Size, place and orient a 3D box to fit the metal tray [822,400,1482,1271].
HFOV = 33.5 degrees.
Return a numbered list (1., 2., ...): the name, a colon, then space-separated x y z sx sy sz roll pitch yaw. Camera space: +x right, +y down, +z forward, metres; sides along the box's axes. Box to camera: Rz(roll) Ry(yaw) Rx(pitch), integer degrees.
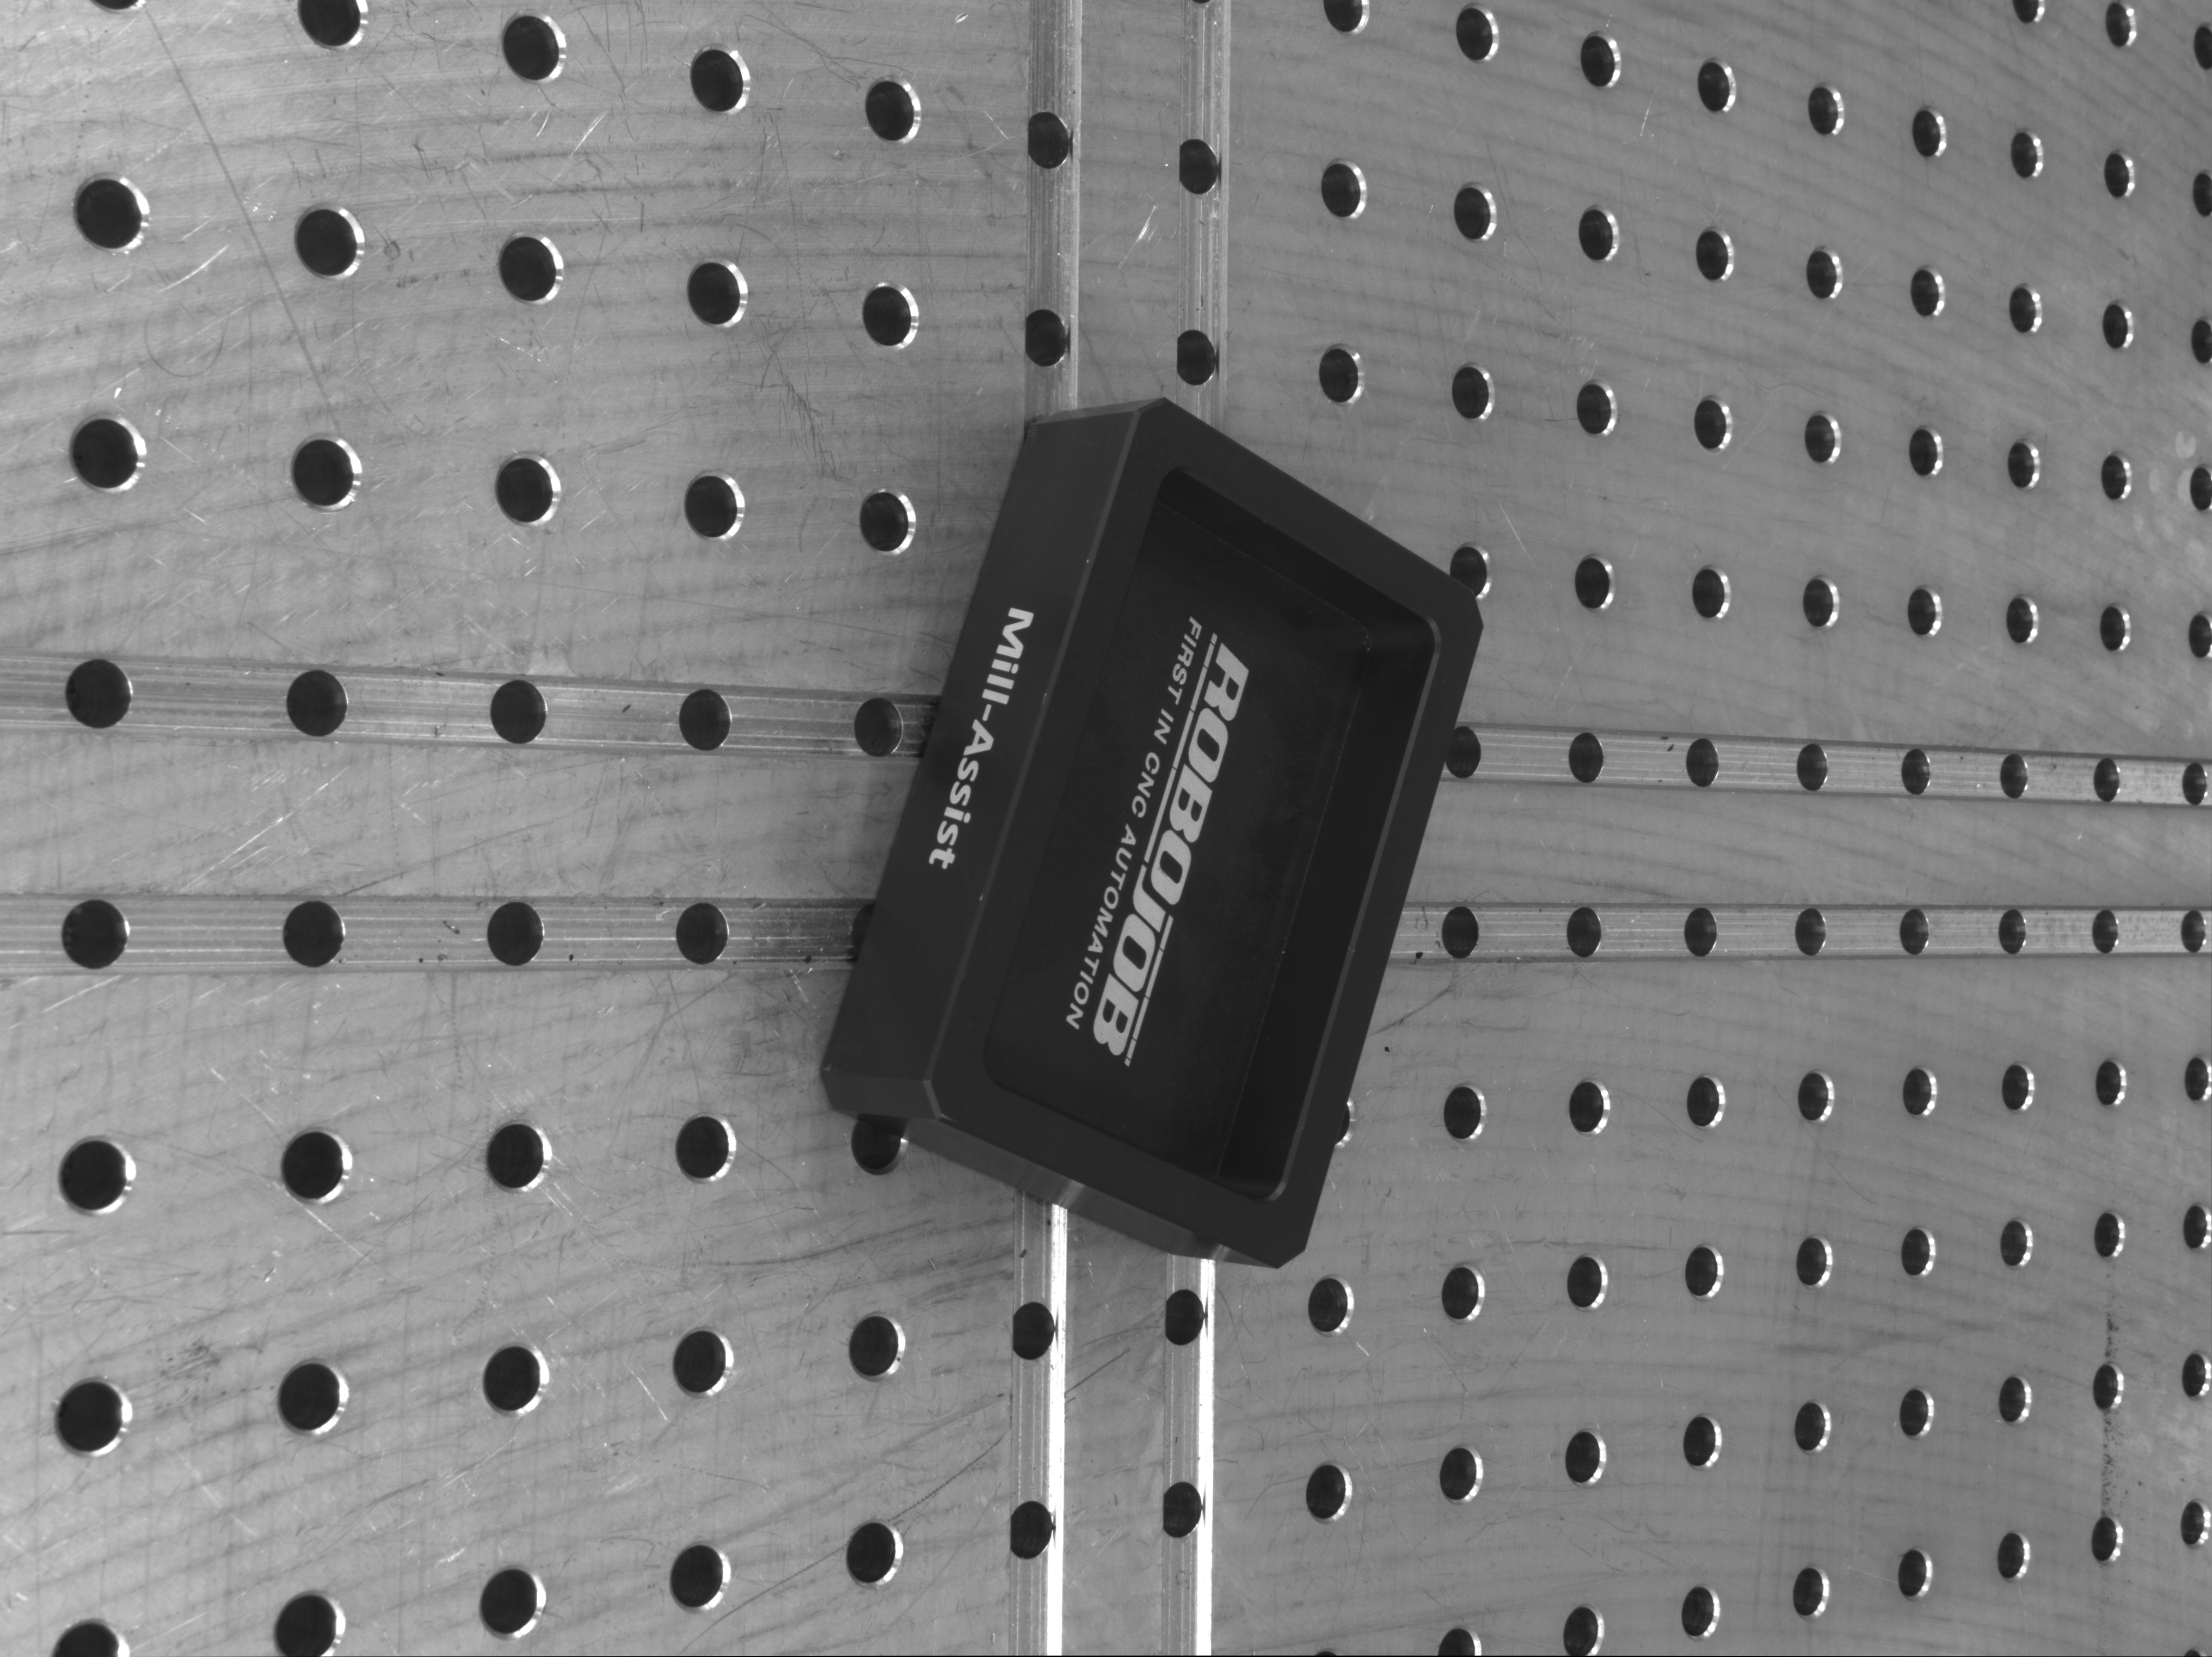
1. metal tray: 0.011 0.002 0.645 0.090 0.030 0.130 28 73 -37
